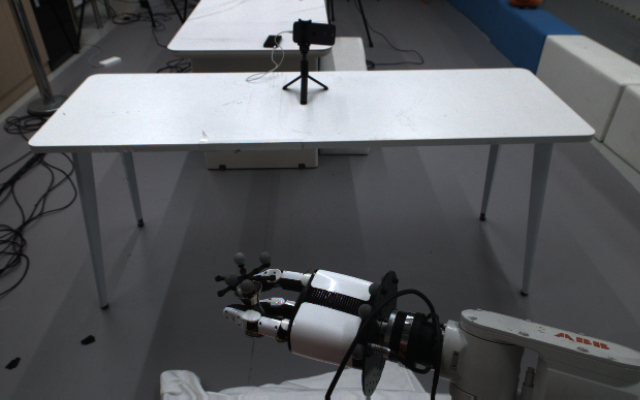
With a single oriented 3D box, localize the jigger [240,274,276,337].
[{"bbox_3d":[-0.089,0.150,0.679,0.043,0.071,0.043,-10,24,5],"label":"jigger"}]
